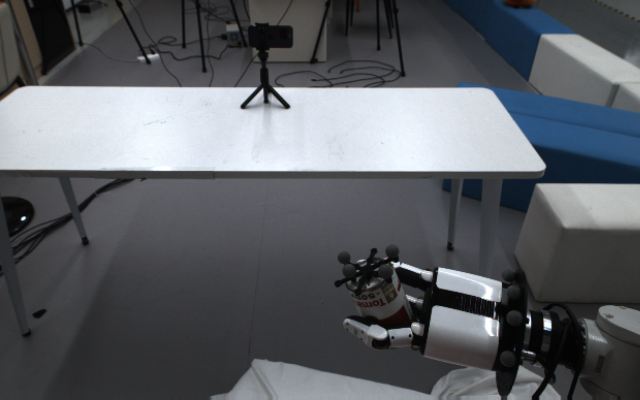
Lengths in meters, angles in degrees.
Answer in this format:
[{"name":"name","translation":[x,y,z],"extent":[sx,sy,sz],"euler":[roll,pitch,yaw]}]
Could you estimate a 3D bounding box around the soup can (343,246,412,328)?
[{"name":"soup can","translation":[0.084,0.135,0.638],"extent":[0.067,0.101,0.067],"euler":[-21,24,10]}]
